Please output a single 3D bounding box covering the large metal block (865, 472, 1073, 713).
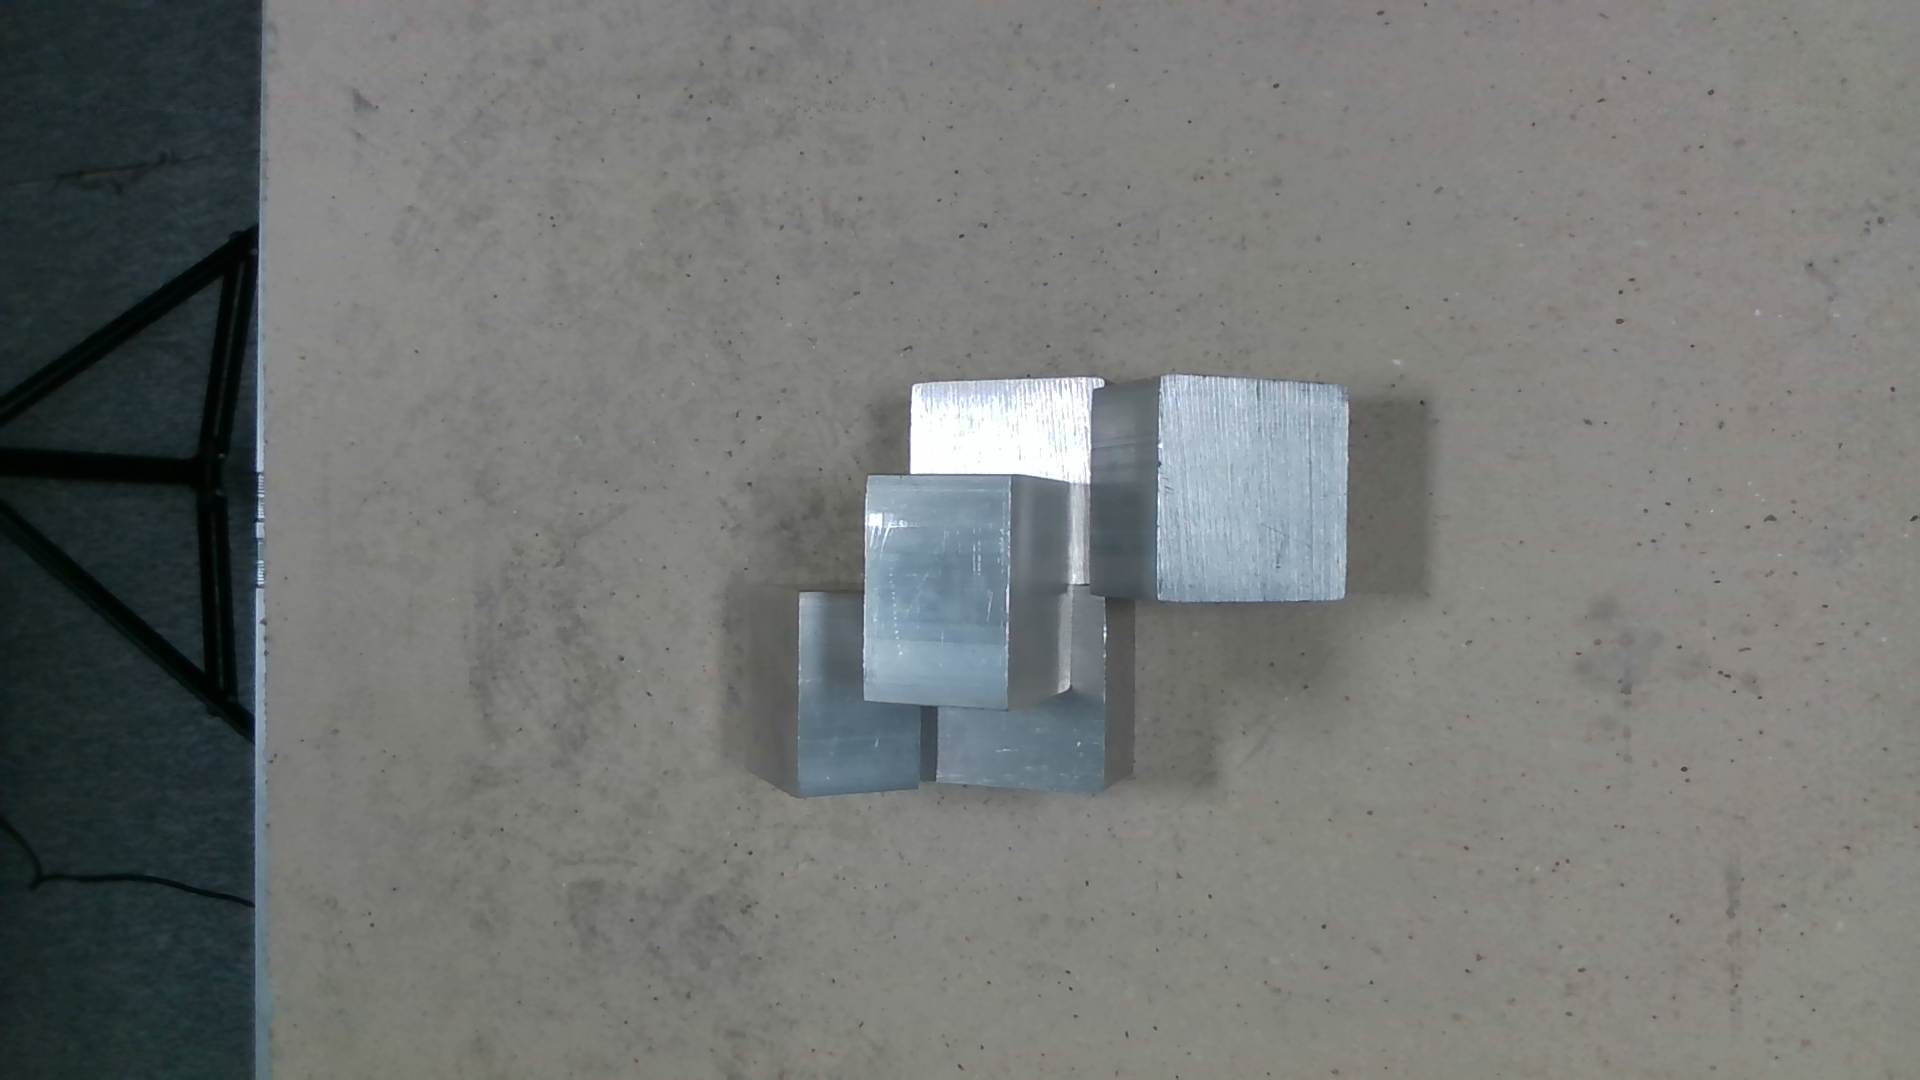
[{"bbox_3d":[0.005,0.017,0.502,0.050,0.080,0.080,1,91,20],"label":"large metal block"}]

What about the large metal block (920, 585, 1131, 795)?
[{"bbox_3d":[0.025,0.057,0.562,0.080,0.050,0.080,1,91,20],"label":"large metal block"}]

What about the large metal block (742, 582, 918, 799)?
[{"bbox_3d":[-0.055,0.058,0.571,0.050,0.080,0.080,0,91,-24],"label":"large metal block"}]

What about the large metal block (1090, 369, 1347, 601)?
[{"bbox_3d":[0.096,-0.019,0.515,0.080,0.050,0.080,1,90,-24],"label":"large metal block"}]

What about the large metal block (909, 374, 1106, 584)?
[{"bbox_3d":[0.025,-0.024,0.561,0.080,0.050,0.080,1,91,20],"label":"large metal block"}]
